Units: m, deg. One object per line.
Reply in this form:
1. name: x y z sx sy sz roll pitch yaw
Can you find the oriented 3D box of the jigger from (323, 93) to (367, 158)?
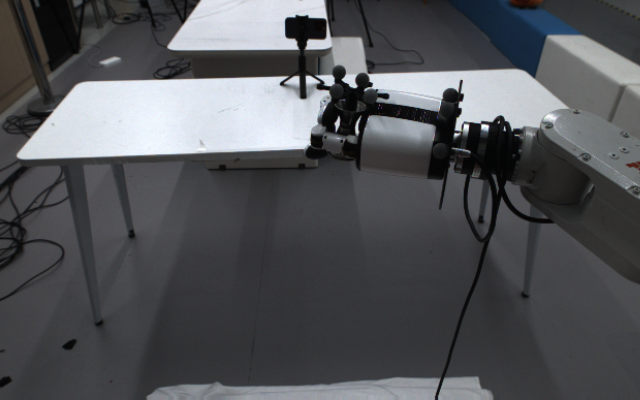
1. jigger: 0.035 -0.089 0.622 0.043 0.071 0.043 7 32 -4
